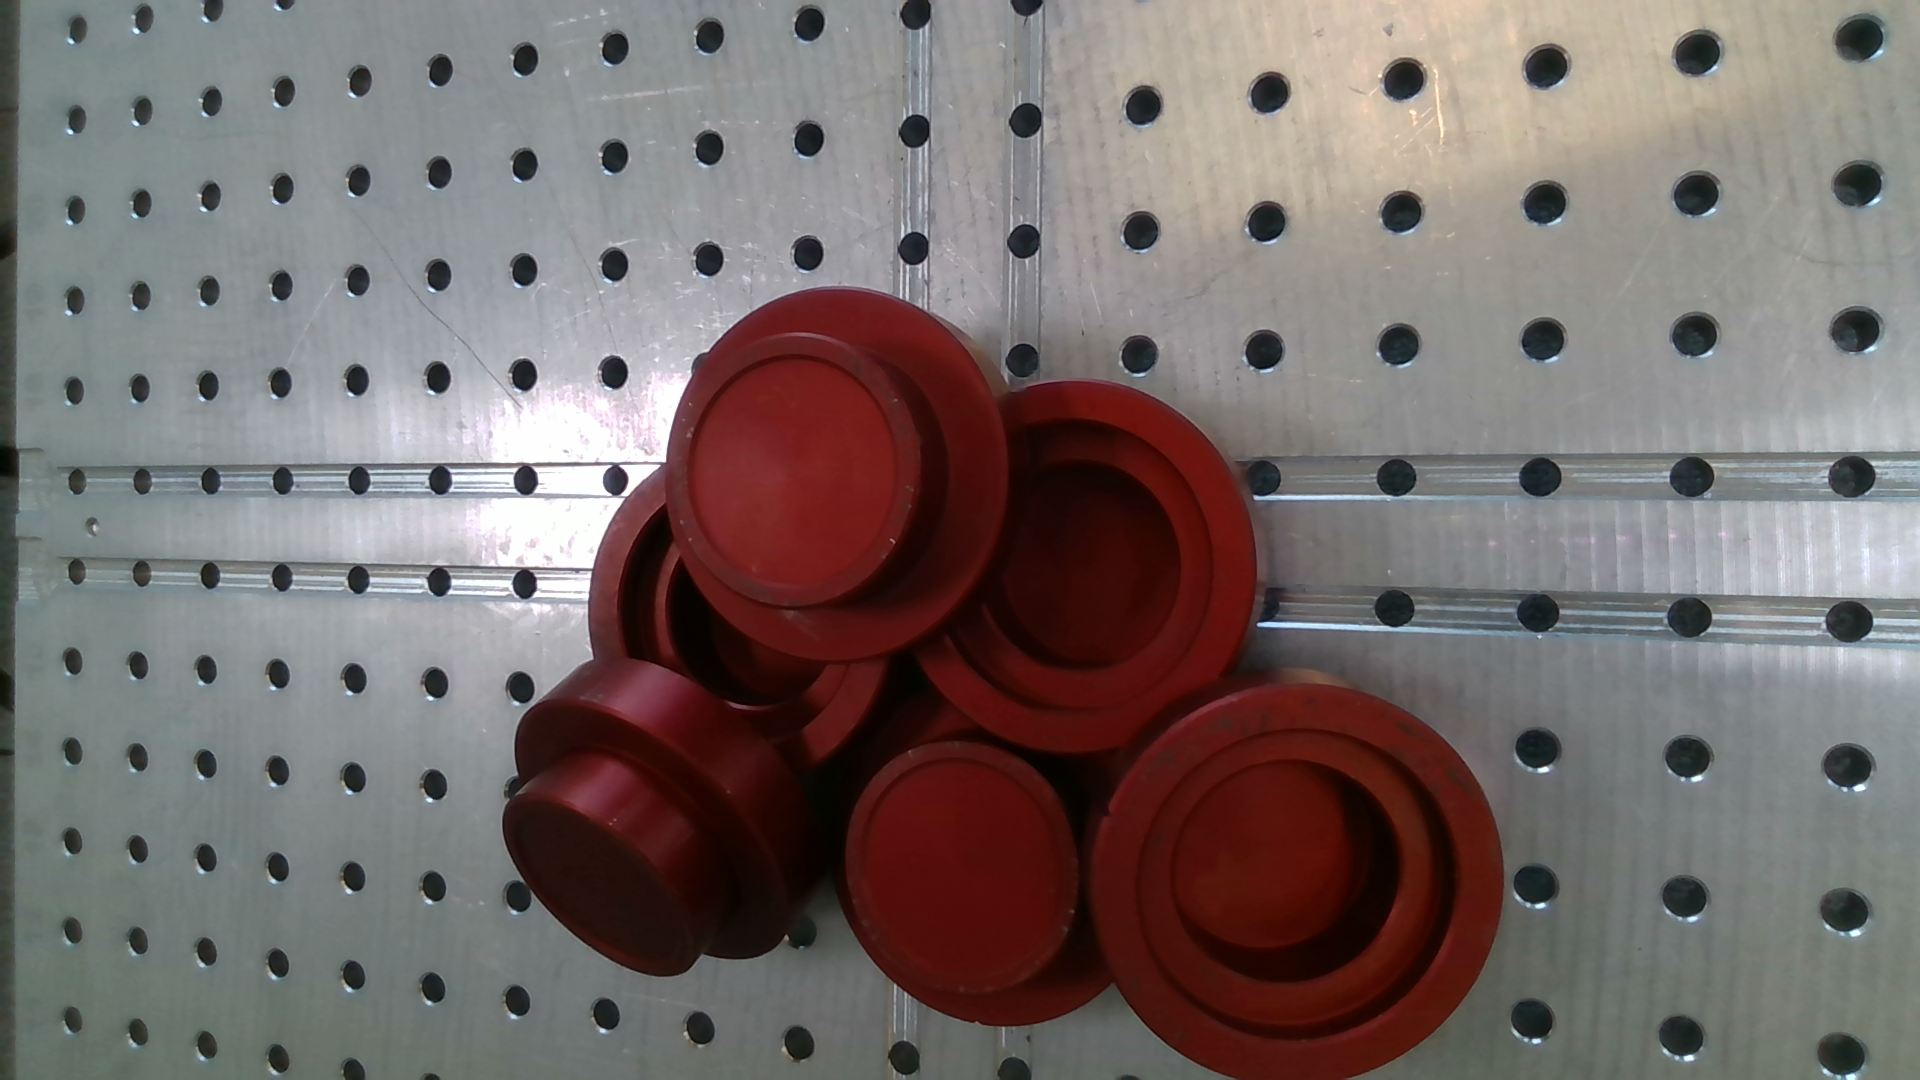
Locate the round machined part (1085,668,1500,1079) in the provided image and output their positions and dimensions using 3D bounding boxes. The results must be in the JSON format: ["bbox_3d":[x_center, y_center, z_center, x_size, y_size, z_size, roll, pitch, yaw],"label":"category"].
[{"bbox_3d":[0.079,0.079,0.347,0.098,0.042,0.098,0,97,-1],"label":"round machined part"}]

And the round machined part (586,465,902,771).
[{"bbox_3d":[-0.058,0.020,0.408,0.098,0.042,0.098,0,90,20],"label":"round machined part"}]

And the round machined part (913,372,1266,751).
[{"bbox_3d":[0.034,0.006,0.375,0.098,0.042,0.098,0,90,20],"label":"round machined part"}]

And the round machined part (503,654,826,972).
[{"bbox_3d":[-0.091,0.084,0.395,0.098,0.042,0.098,19,131,23],"label":"round machined part"}]

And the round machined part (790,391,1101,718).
[{"bbox_3d":[-0.007,-0.001,0.389,0.098,0.042,0.098,0,90,20],"label":"round machined part"}]

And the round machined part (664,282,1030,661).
[{"bbox_3d":[-0.035,-0.018,0.355,0.098,0.042,0.098,0,90,20],"label":"round machined part"}]

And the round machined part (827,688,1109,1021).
[{"bbox_3d":[0.007,0.086,0.385,0.098,0.042,0.098,0,90,20],"label":"round machined part"}]
